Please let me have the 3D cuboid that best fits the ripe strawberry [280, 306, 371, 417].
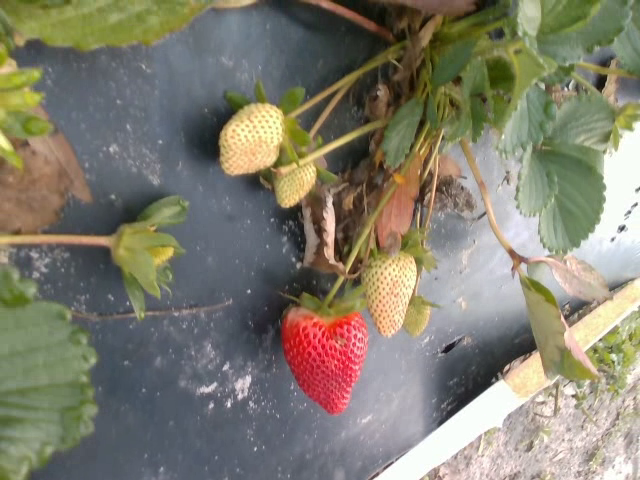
[{"bbox_3d":[0.005,0.056,0.284,0.050,0.059,0.033,-19,14,-33],"label":"ripe strawberry"}]
